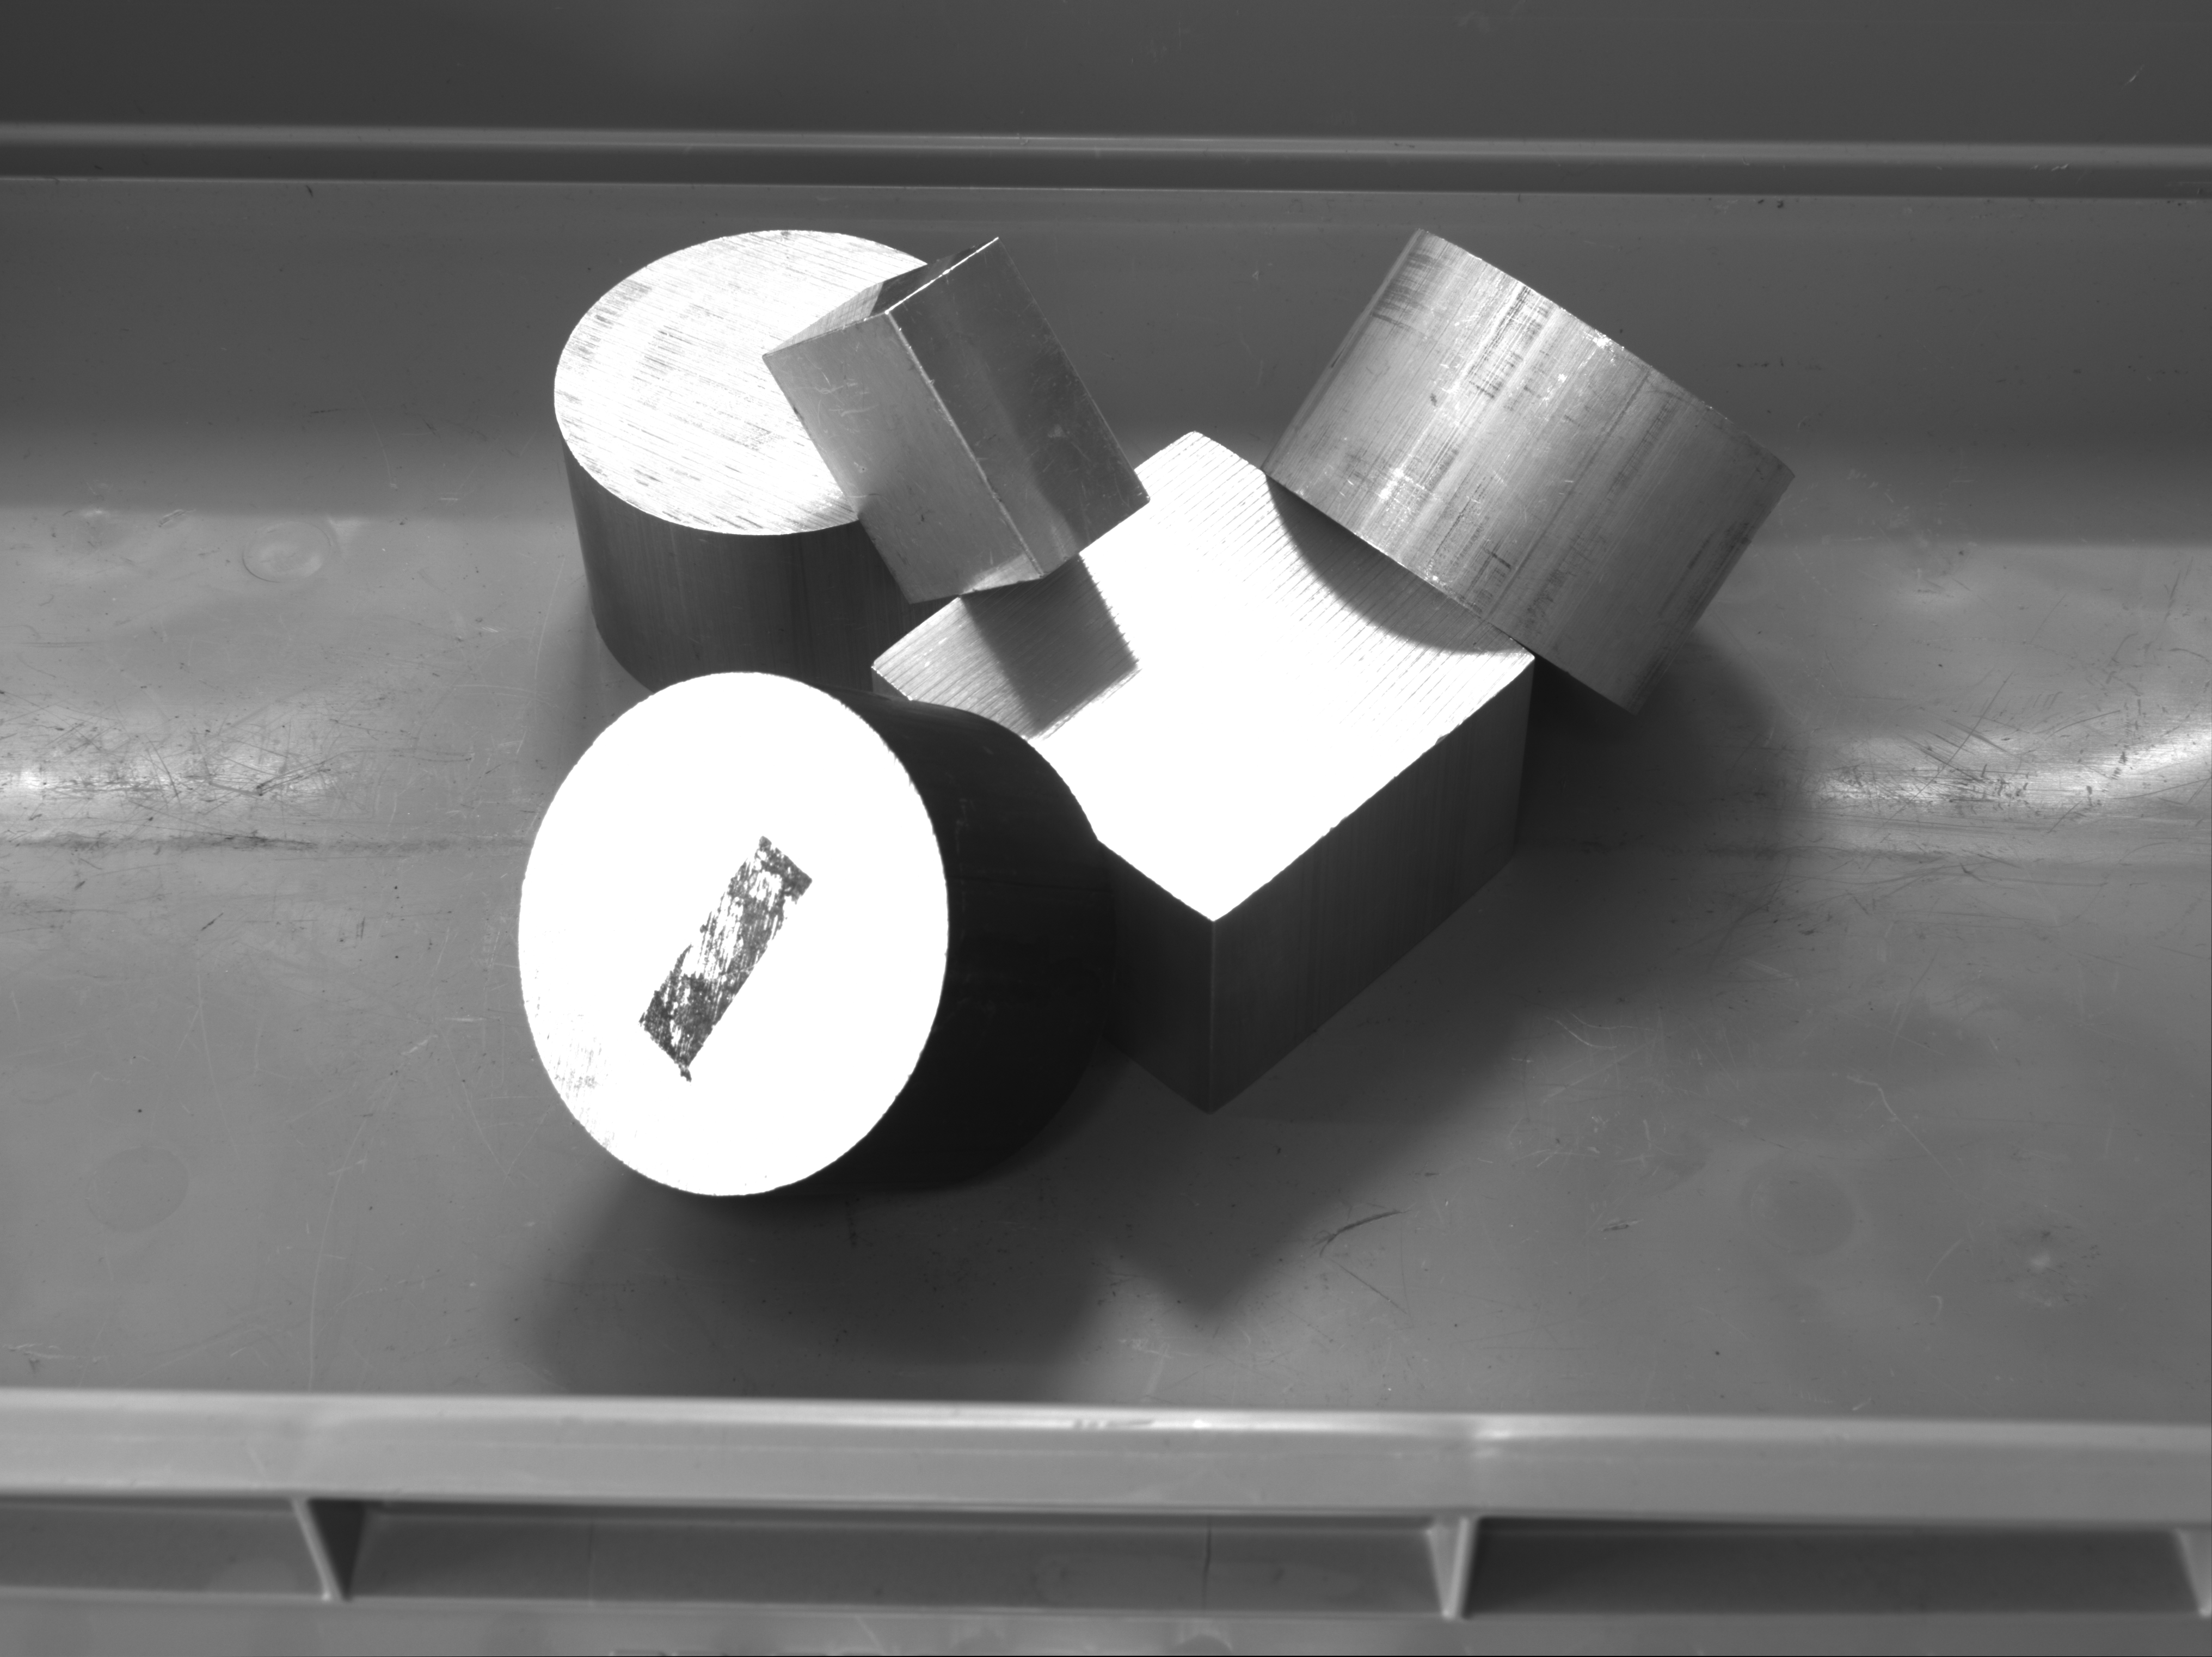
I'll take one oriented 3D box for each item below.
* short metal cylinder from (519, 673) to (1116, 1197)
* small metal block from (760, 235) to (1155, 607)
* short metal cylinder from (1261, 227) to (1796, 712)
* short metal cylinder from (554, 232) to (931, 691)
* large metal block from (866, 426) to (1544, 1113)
[{"bbox_3d":[-0.046,0.018,0.582,0.080,0.050,0.080,-2,85,30],"label":"short metal cylinder"},{"bbox_3d":[-0.025,-0.067,0.617,0.025,0.050,0.050,-38,15,-25],"label":"small metal block"},{"bbox_3d":[0.074,-0.063,0.649,0.080,0.080,0.050,36,97,26],"label":"short metal cylinder"},{"bbox_3d":[-0.059,-0.065,0.680,0.080,0.050,0.080,0,50,0],"label":"short metal cylinder"},{"bbox_3d":[0.017,-0.012,0.632,0.080,0.050,0.080,37,59,27],"label":"large metal block"}]
